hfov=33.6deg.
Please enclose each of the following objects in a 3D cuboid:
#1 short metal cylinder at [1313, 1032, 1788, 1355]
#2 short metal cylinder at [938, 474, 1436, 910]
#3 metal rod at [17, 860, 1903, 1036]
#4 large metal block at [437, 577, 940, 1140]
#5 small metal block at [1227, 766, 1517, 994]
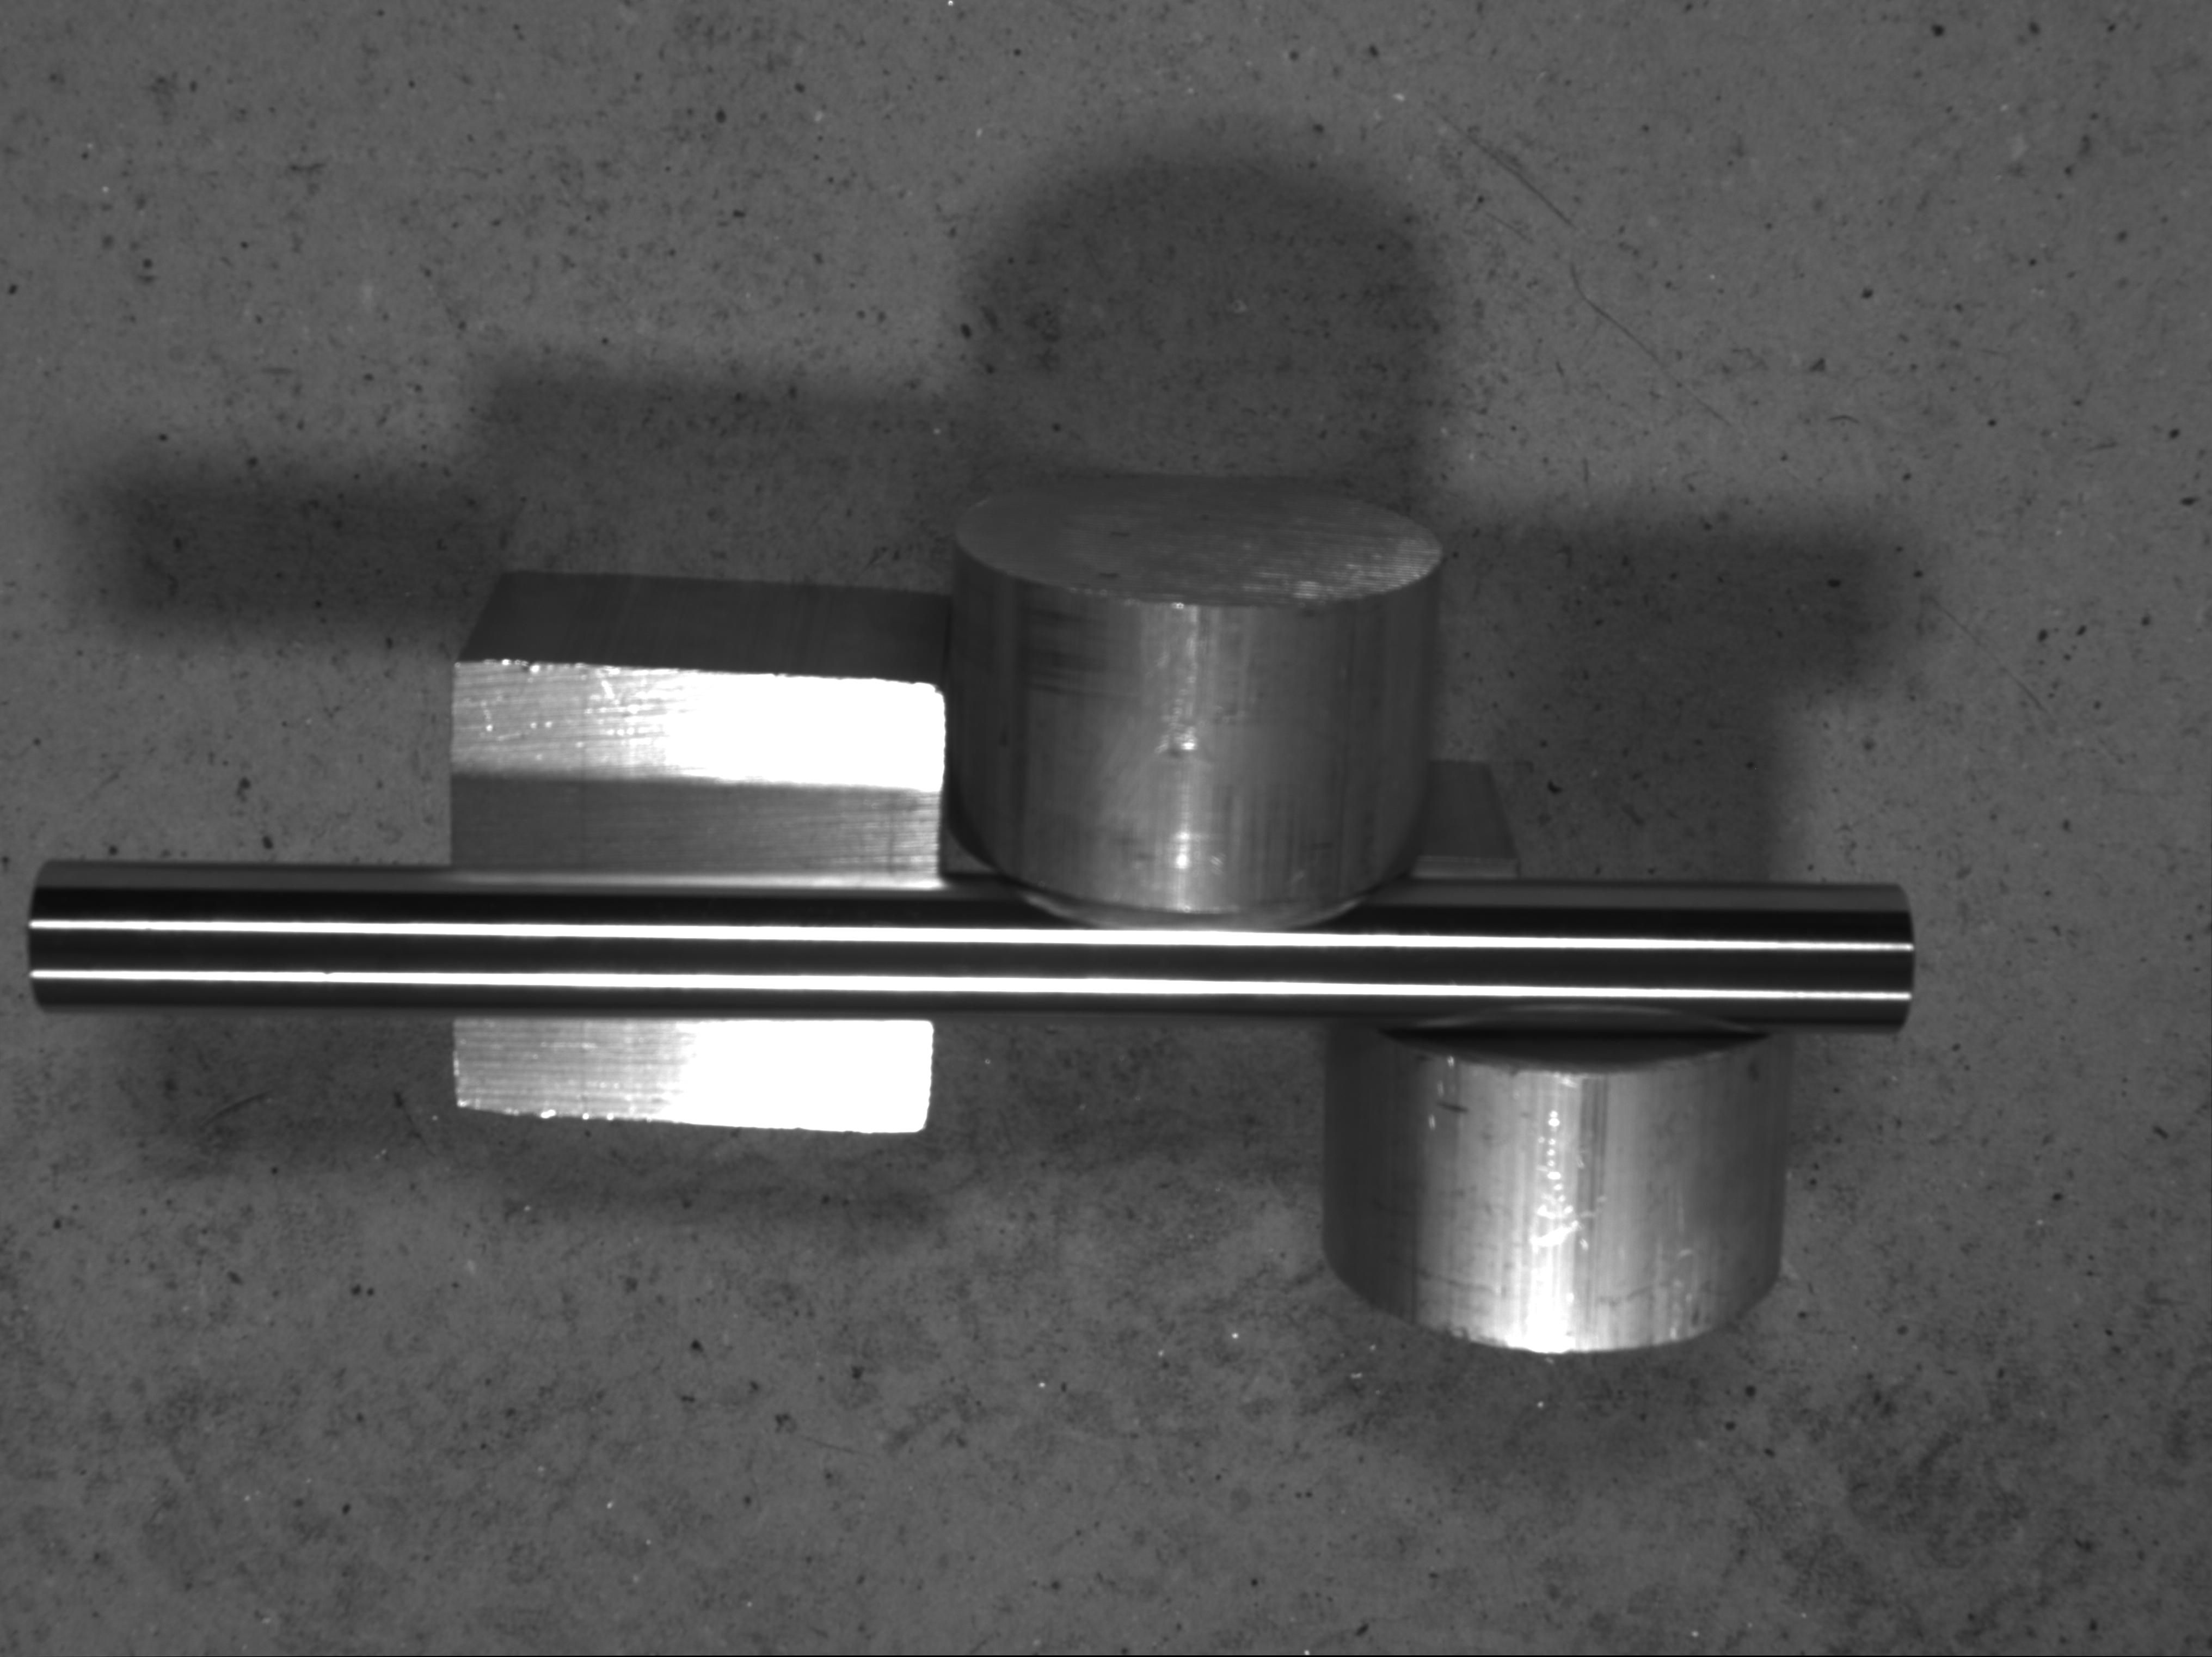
[{"bbox_3d":[0.076,0.050,0.632,0.080,0.080,0.050,0,110,-1],"label":"short metal cylinder"},{"bbox_3d":[0.013,-0.024,0.606,0.080,0.080,0.050,2,110,-1],"label":"short metal cylinder"},{"bbox_3d":[-0.022,0.019,0.596,0.300,0.025,0.025,1,110,-2],"label":"metal rod"},{"bbox_3d":[-0.070,0.004,0.627,0.080,0.050,0.080,3,110,-2],"label":"large metal block"},{"bbox_3d":[0.042,0.009,0.632,0.050,0.050,0.025,1,110,-1],"label":"small metal block"}]
